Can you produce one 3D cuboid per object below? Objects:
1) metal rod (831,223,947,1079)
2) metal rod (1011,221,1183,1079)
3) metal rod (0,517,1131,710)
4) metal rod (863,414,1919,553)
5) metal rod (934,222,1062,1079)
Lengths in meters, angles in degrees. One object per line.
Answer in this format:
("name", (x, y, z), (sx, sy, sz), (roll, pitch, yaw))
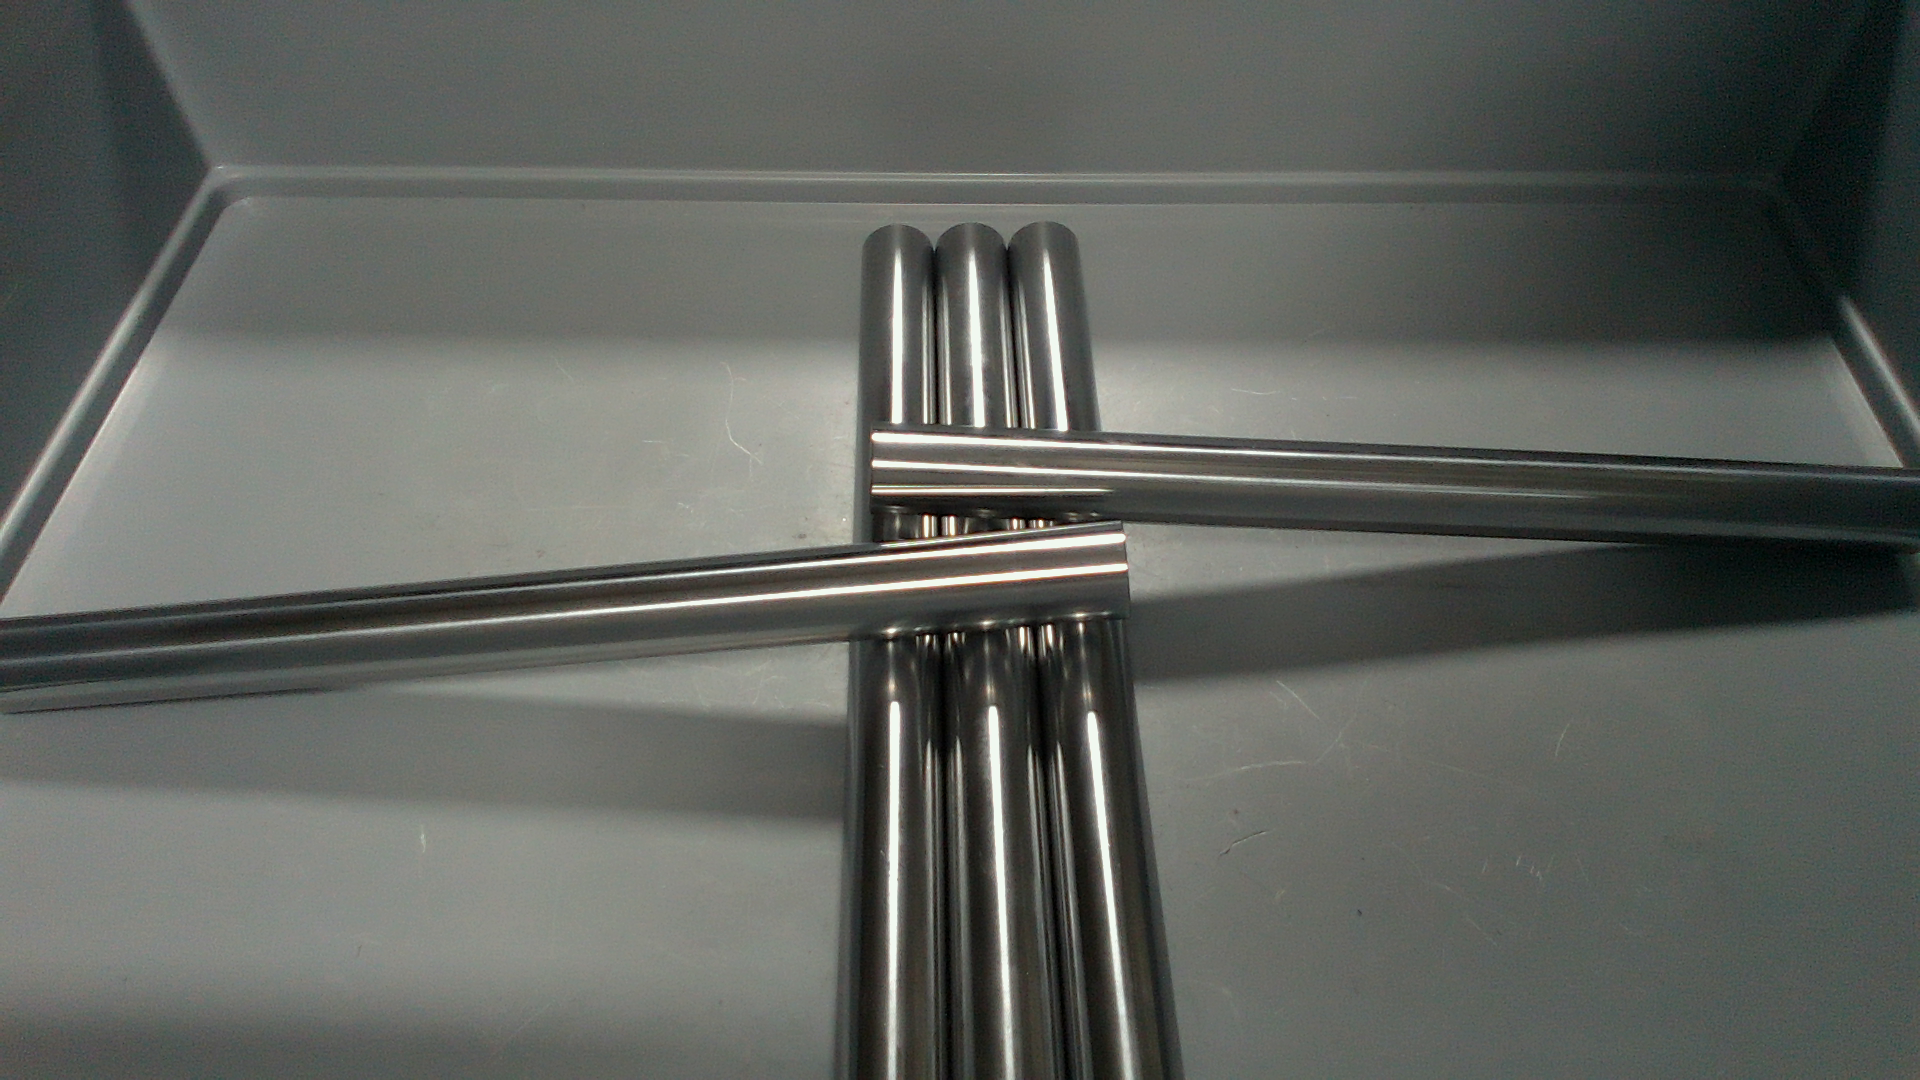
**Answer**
("metal rod", (-0.018, 0.016, 0.377), (0.025, 0.025, 0.300), (-1, 50, -1))
("metal rod", (0.032, 0.015, 0.378), (0.025, 0.025, 0.300), (-1, 50, -1))
("metal rod", (-0.108, 0.020, 0.353), (0.300, 0.025, 0.025), (-5, 50, 4))
("metal rod", (0.124, -0.015, 0.380), (0.300, 0.025, 0.025), (2, 50, -6))
("metal rod", (0.006, 0.015, 0.378), (0.025, 0.025, 0.300), (-1, 50, -1))
